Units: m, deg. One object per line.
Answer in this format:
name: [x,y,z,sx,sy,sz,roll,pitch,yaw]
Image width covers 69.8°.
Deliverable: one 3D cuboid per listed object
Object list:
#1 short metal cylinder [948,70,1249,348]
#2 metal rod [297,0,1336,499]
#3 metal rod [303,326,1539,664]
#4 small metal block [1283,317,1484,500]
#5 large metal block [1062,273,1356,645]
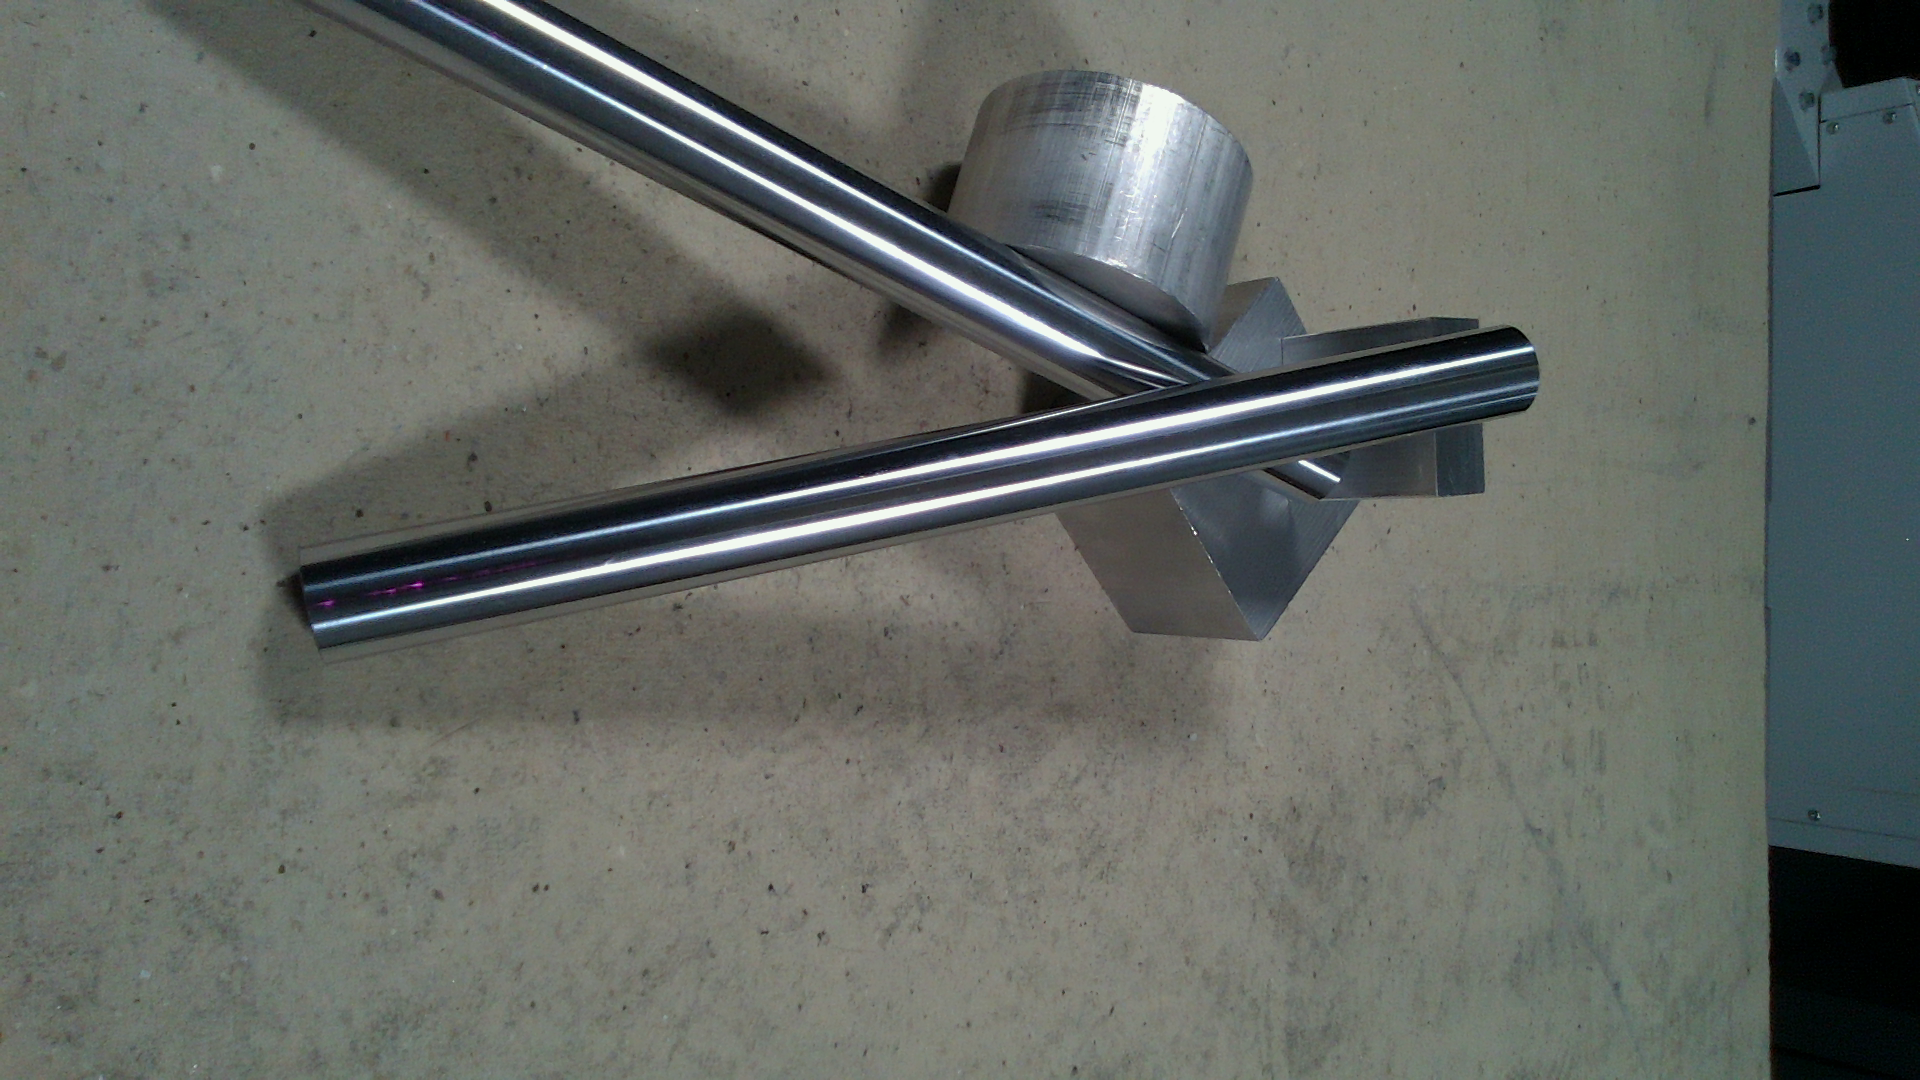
short metal cylinder: [0.035,-0.085,0.384,0.080,0.080,0.050,26,74,-37]
metal rod: [-0.025,-0.076,0.331,0.301,0.025,0.025,23,75,-26]
metal rod: [0.009,-0.016,0.328,0.301,0.025,0.025,-12,98,-18]
small metal block: [0.125,-0.038,0.409,0.025,0.050,0.050,-5,94,-39]
large metal block: [0.077,-0.025,0.435,0.080,0.050,0.080,-48,118,-28]
